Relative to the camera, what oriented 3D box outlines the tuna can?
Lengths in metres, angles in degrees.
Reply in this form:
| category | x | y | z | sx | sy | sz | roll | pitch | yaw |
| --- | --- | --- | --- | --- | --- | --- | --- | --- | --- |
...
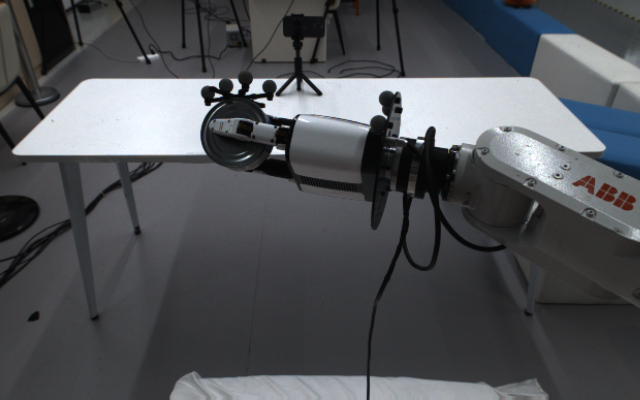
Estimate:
| category | x | y | z | sx | sy | sz | roll | pitch | yaw |
| --- | --- | --- | --- | --- | --- | --- | --- | --- | --- |
| tuna can | -0.097 | -0.079 | 0.595 | 0.085 | 0.085 | 0.034 | 10 | -6 | 11 |
